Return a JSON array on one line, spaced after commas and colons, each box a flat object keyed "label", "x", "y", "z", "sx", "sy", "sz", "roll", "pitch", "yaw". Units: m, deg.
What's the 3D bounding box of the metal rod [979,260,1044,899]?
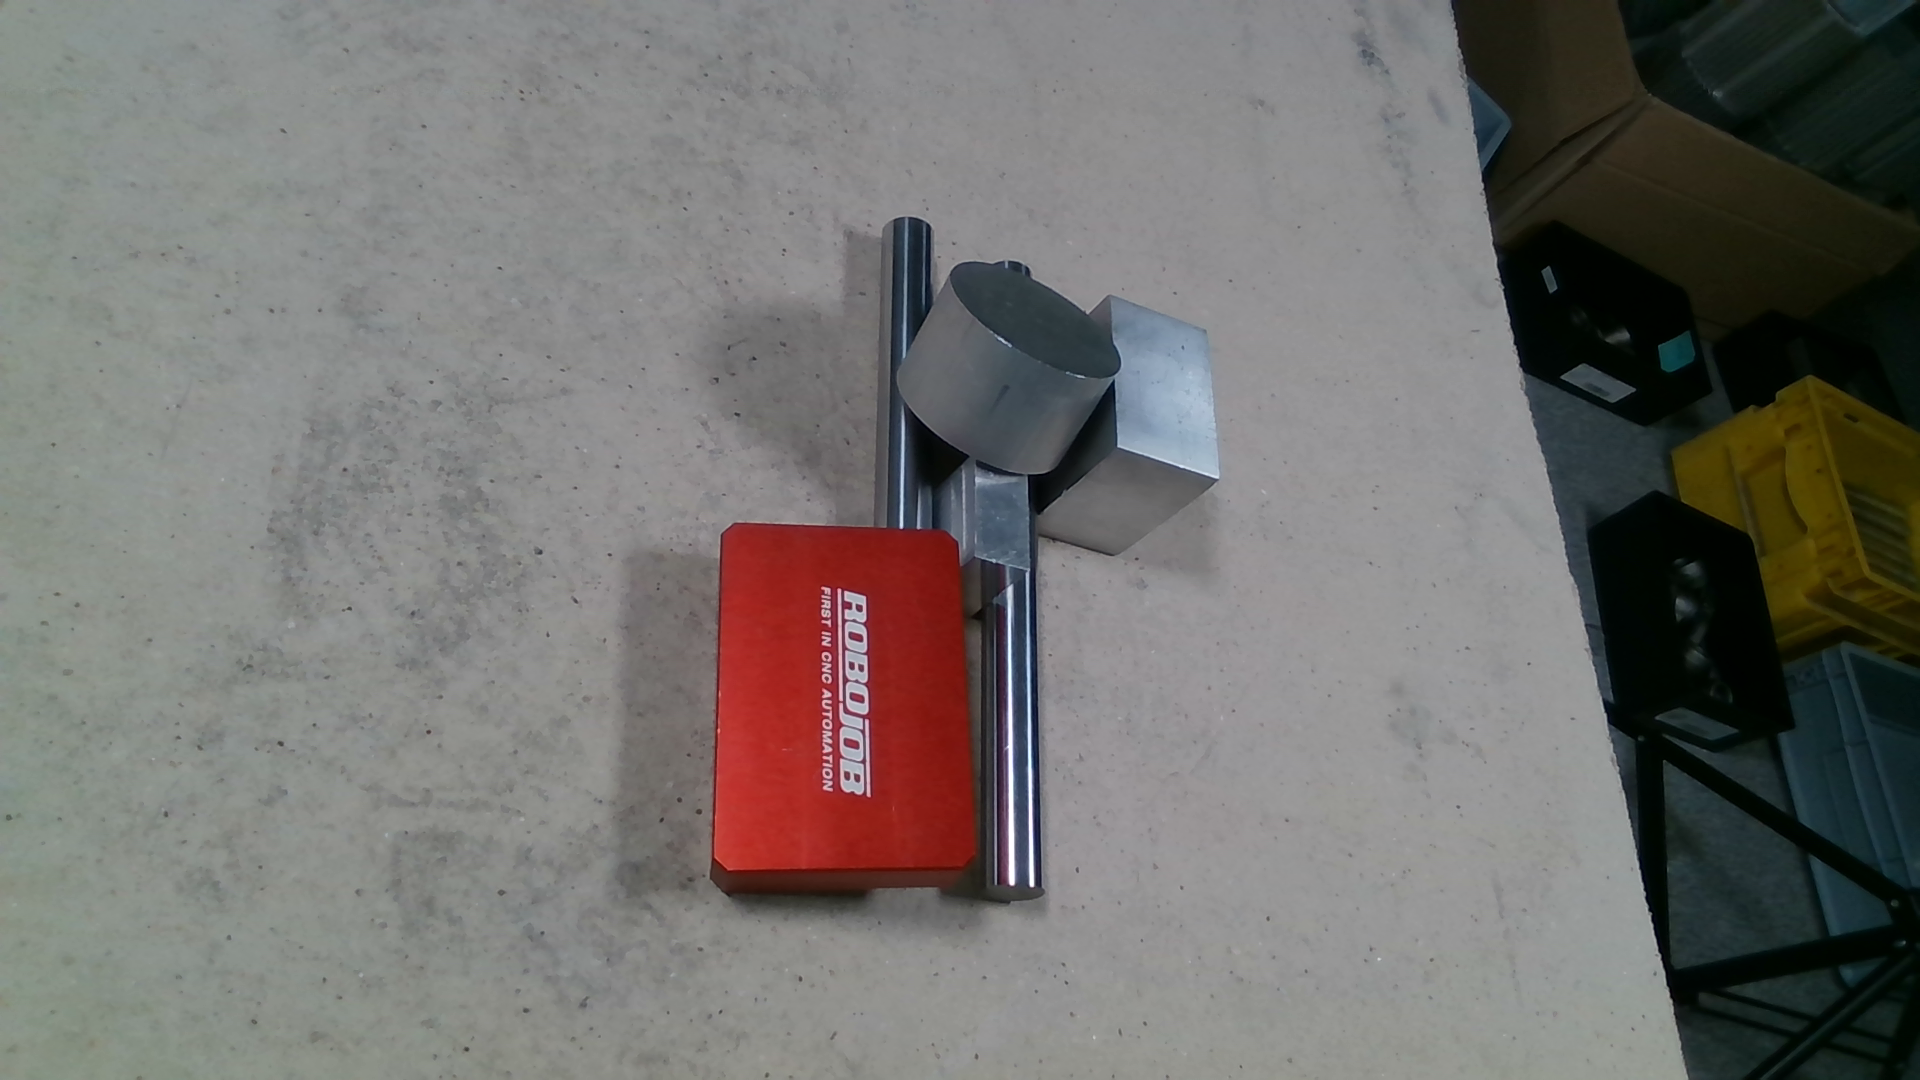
[{"label": "metal rod", "x": 0.021, "y": 0.003, "z": 0.598, "sx": 0.025, "sy": 0.025, "sz": 0.299, "roll": 15, "pitch": 58, "yaw": -24}]

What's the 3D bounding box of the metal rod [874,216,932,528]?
[{"label": "metal rod", "x": -0.024, "y": -0.012, "z": 0.578, "sx": 0.025, "sy": 0.025, "sz": 0.299, "roll": 14, "pitch": 59, "yaw": -25}]

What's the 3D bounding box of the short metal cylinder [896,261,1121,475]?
[{"label": "short metal cylinder", "x": 0.020, "y": -0.072, "z": 0.575, "sx": 0.080, "sy": 0.050, "sz": 0.080, "roll": 23, "pitch": 31, "yaw": -15}]

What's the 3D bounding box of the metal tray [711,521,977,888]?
[{"label": "metal tray", "x": -0.044, "y": 0.059, "z": 0.506, "sx": 0.090, "sy": 0.030, "sz": 0.130, "roll": 2, "pitch": 64, "yaw": -11}]

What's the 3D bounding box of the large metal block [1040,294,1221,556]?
[{"label": "large metal block", "x": 0.070, "y": -0.049, "z": 0.621, "sx": 0.050, "sy": 0.080, "sz": 0.080, "roll": 15, "pitch": 58, "yaw": -24}]

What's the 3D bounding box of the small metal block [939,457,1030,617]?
[{"label": "small metal block", "x": 0.005, "y": -0.002, "z": 0.574, "sx": 0.025, "sy": 0.050, "sz": 0.050, "roll": 15, "pitch": 58, "yaw": -24}]
